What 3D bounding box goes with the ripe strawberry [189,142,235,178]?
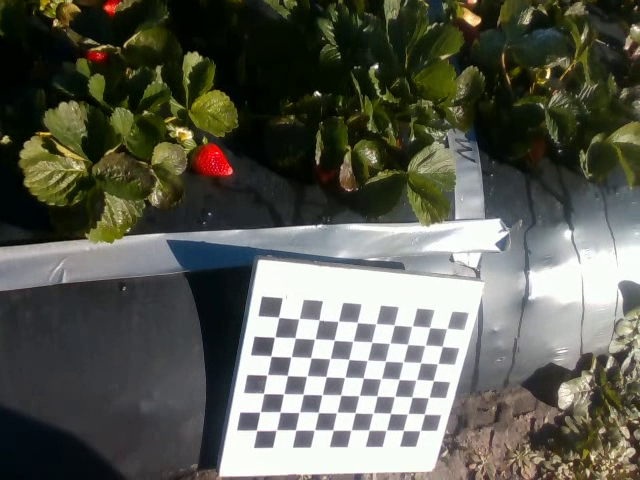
[{"bbox_3d":[-0.125,-0.092,0.667,0.058,0.046,0.042,36,3,-3],"label":"ripe strawberry"}]
